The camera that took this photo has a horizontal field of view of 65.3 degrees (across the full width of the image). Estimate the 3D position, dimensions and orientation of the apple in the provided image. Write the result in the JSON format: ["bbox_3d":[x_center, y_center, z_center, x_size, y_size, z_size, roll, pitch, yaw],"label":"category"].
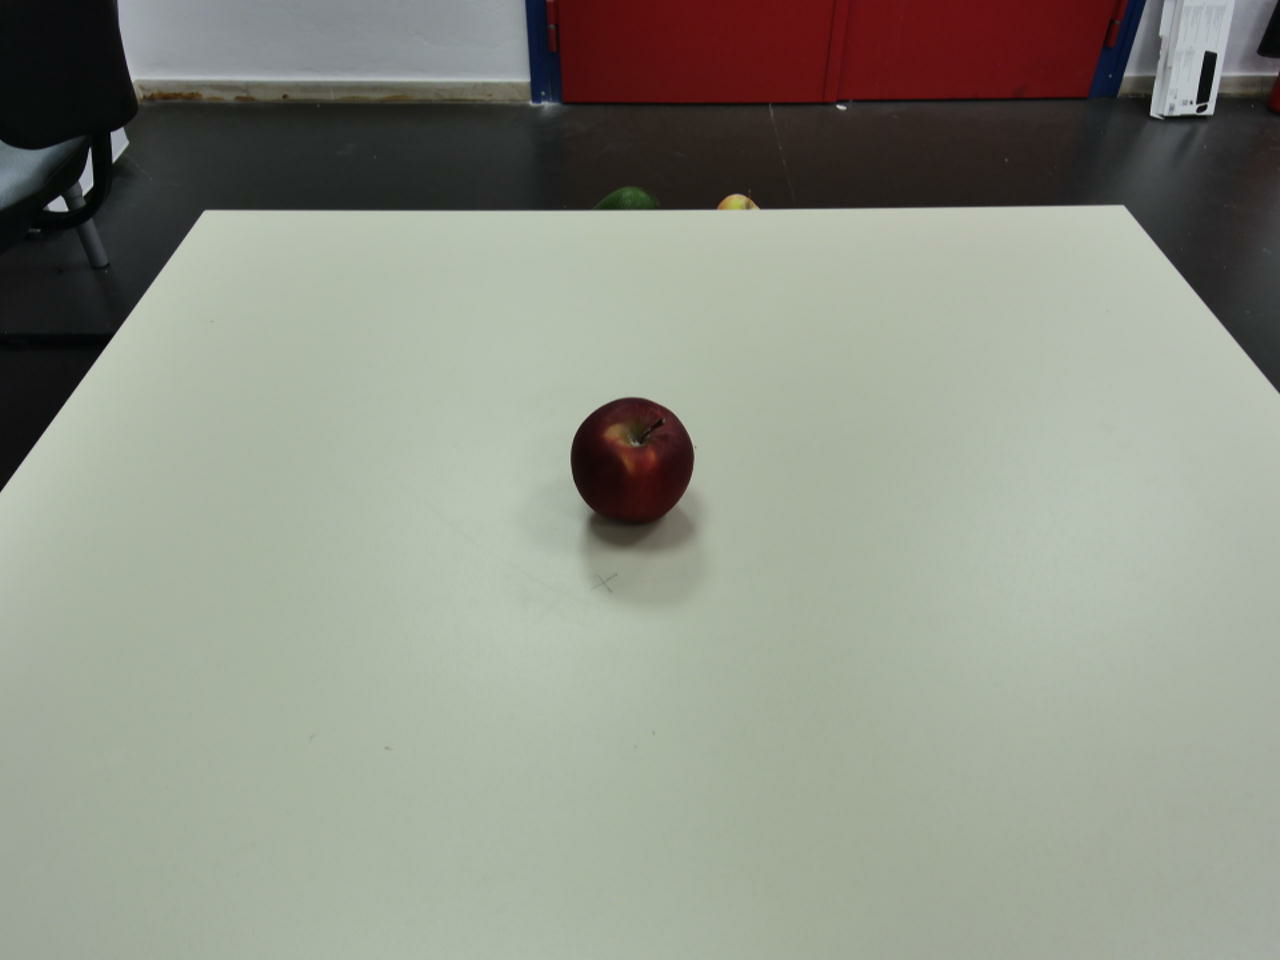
[{"bbox_3d":[-0.004,-0.010,0.558,0.070,0.072,0.070,0,39,0],"label":"apple"}]
